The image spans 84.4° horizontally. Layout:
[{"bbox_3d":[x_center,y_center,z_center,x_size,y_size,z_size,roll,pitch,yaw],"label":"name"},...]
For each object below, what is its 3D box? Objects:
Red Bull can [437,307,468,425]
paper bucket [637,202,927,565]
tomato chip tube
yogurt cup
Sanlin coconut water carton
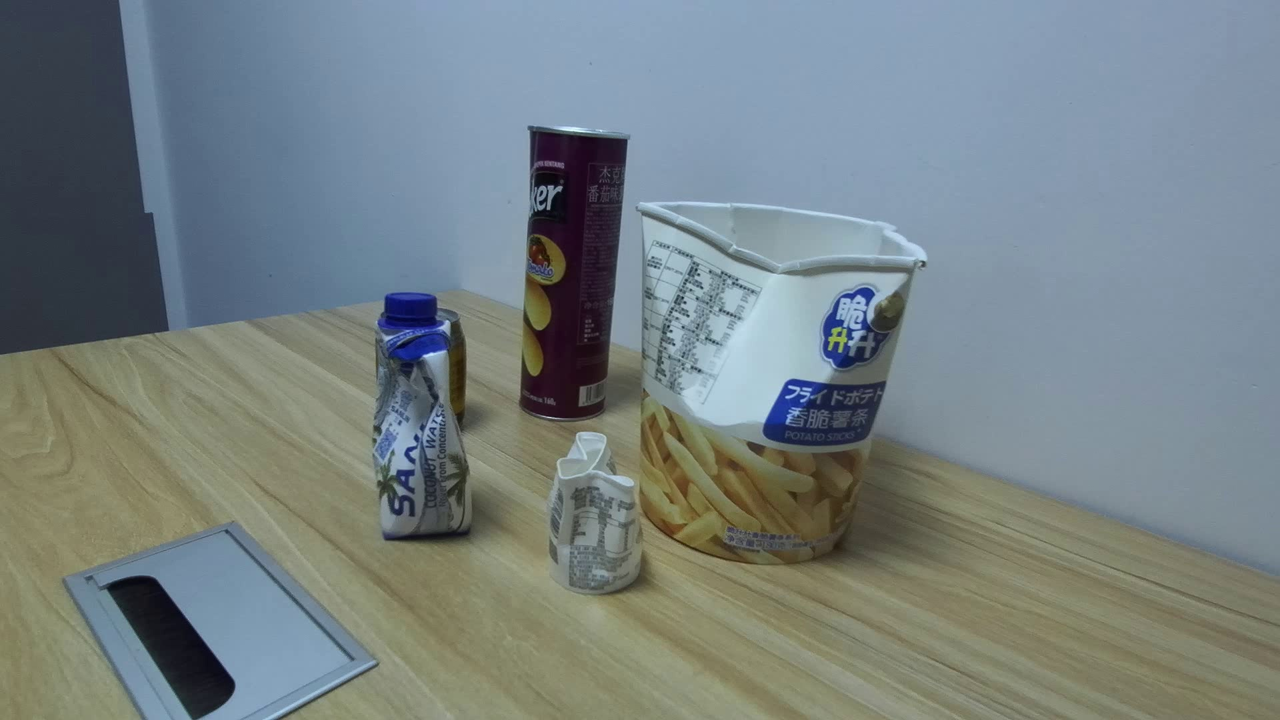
[{"bbox_3d":[-0.174,0.009,0.563,0.068,0.093,0.068,4,20,-1],"label":"Red Bull can"},{"bbox_3d":[0.070,0.006,0.460,0.162,0.202,0.169,7,16,8],"label":"paper bucket"},{"bbox_3d":[-0.058,-0.070,0.592,0.077,0.234,0.080,1,18,-14],"label":"tomato chip tube"},{"bbox_3d":[-0.025,0.085,0.396,0.055,0.072,0.055,6,21,9],"label":"yogurt cup"},{"bbox_3d":[-0.133,0.036,0.413,0.057,0.145,0.068,-7,28,-13],"label":"Sanlin coconut water carton"}]
